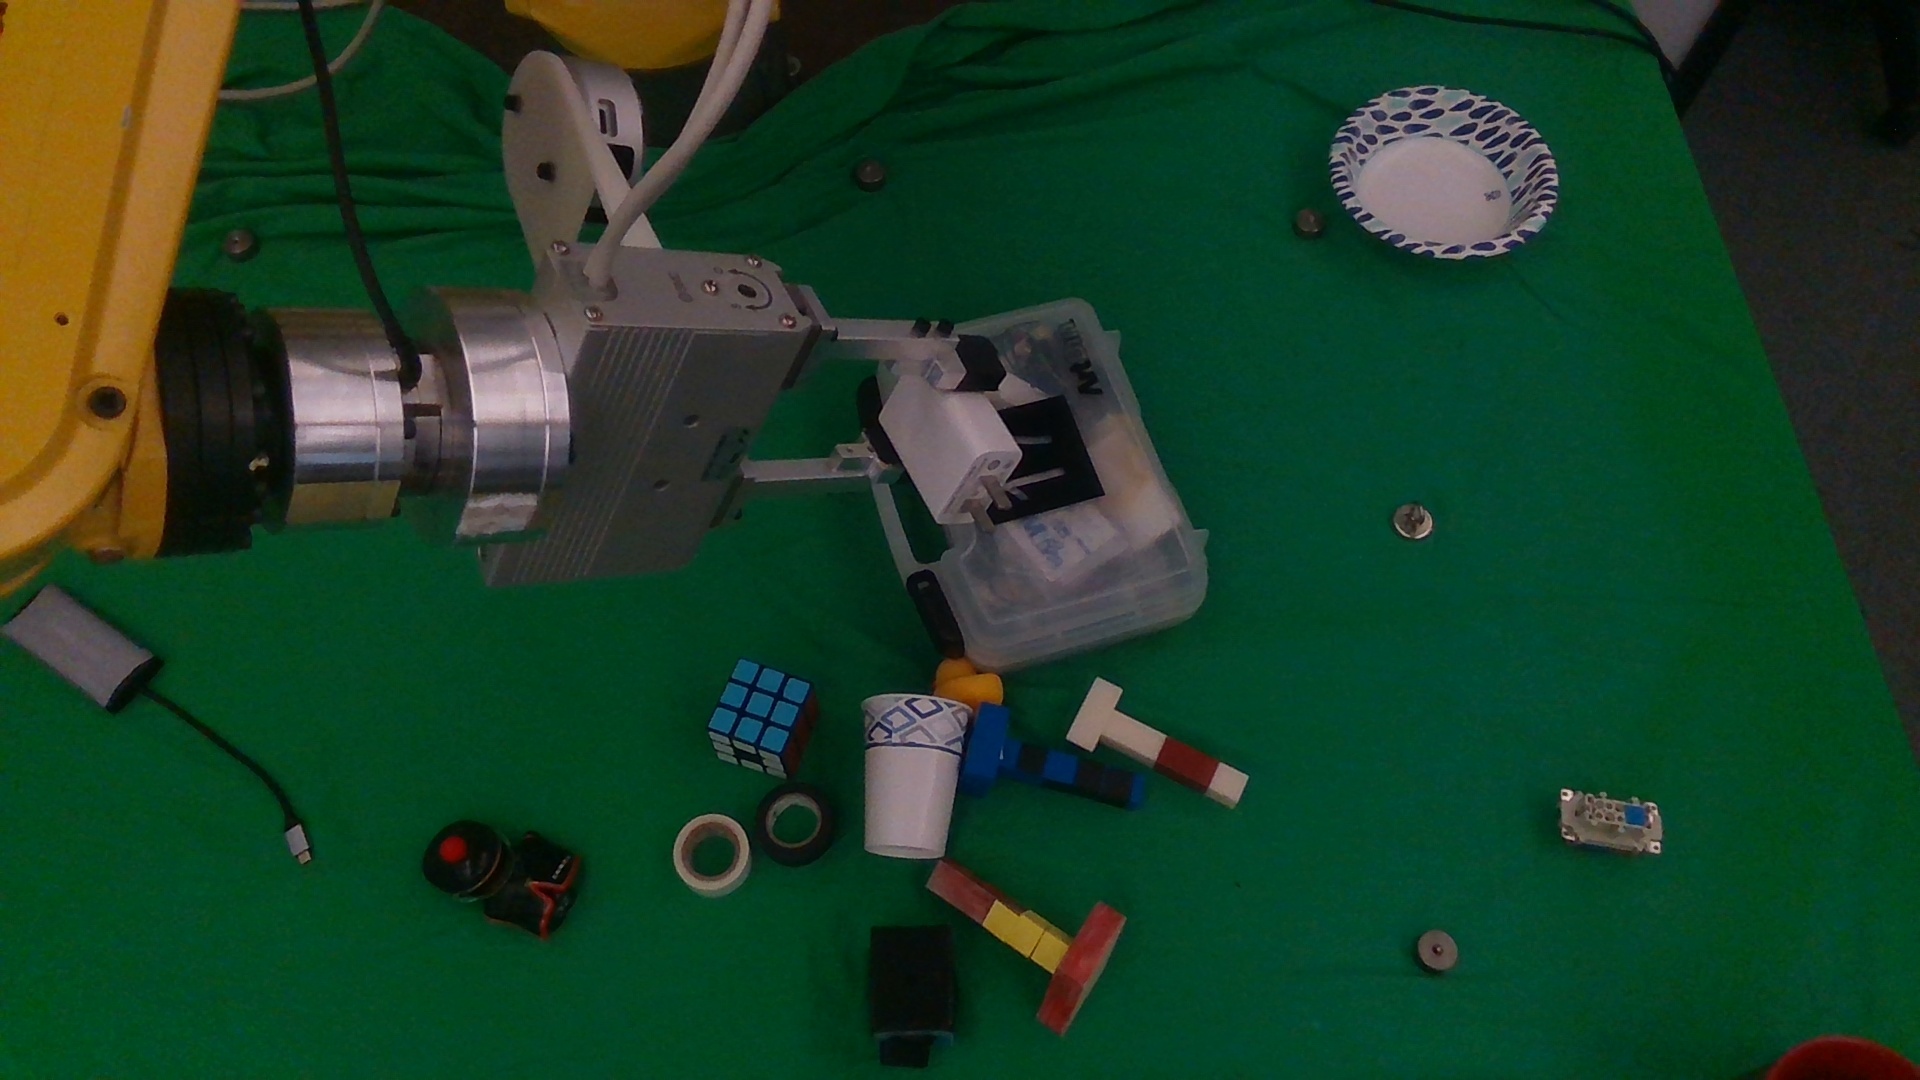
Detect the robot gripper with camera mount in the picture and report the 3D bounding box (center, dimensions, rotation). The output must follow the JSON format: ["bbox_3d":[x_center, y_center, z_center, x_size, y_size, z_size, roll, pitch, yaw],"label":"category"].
[{"bbox_3d":[-0.108,-0.094,0.532,0.158,0.119,0.194,-6,49,-37],"label":"robot gripper with camera mount"}]

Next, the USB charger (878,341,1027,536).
[{"bbox_3d":[-0.001,-0.033,0.513,0.029,0.045,0.076,-4,48,-37],"label":"USB charger"}]
